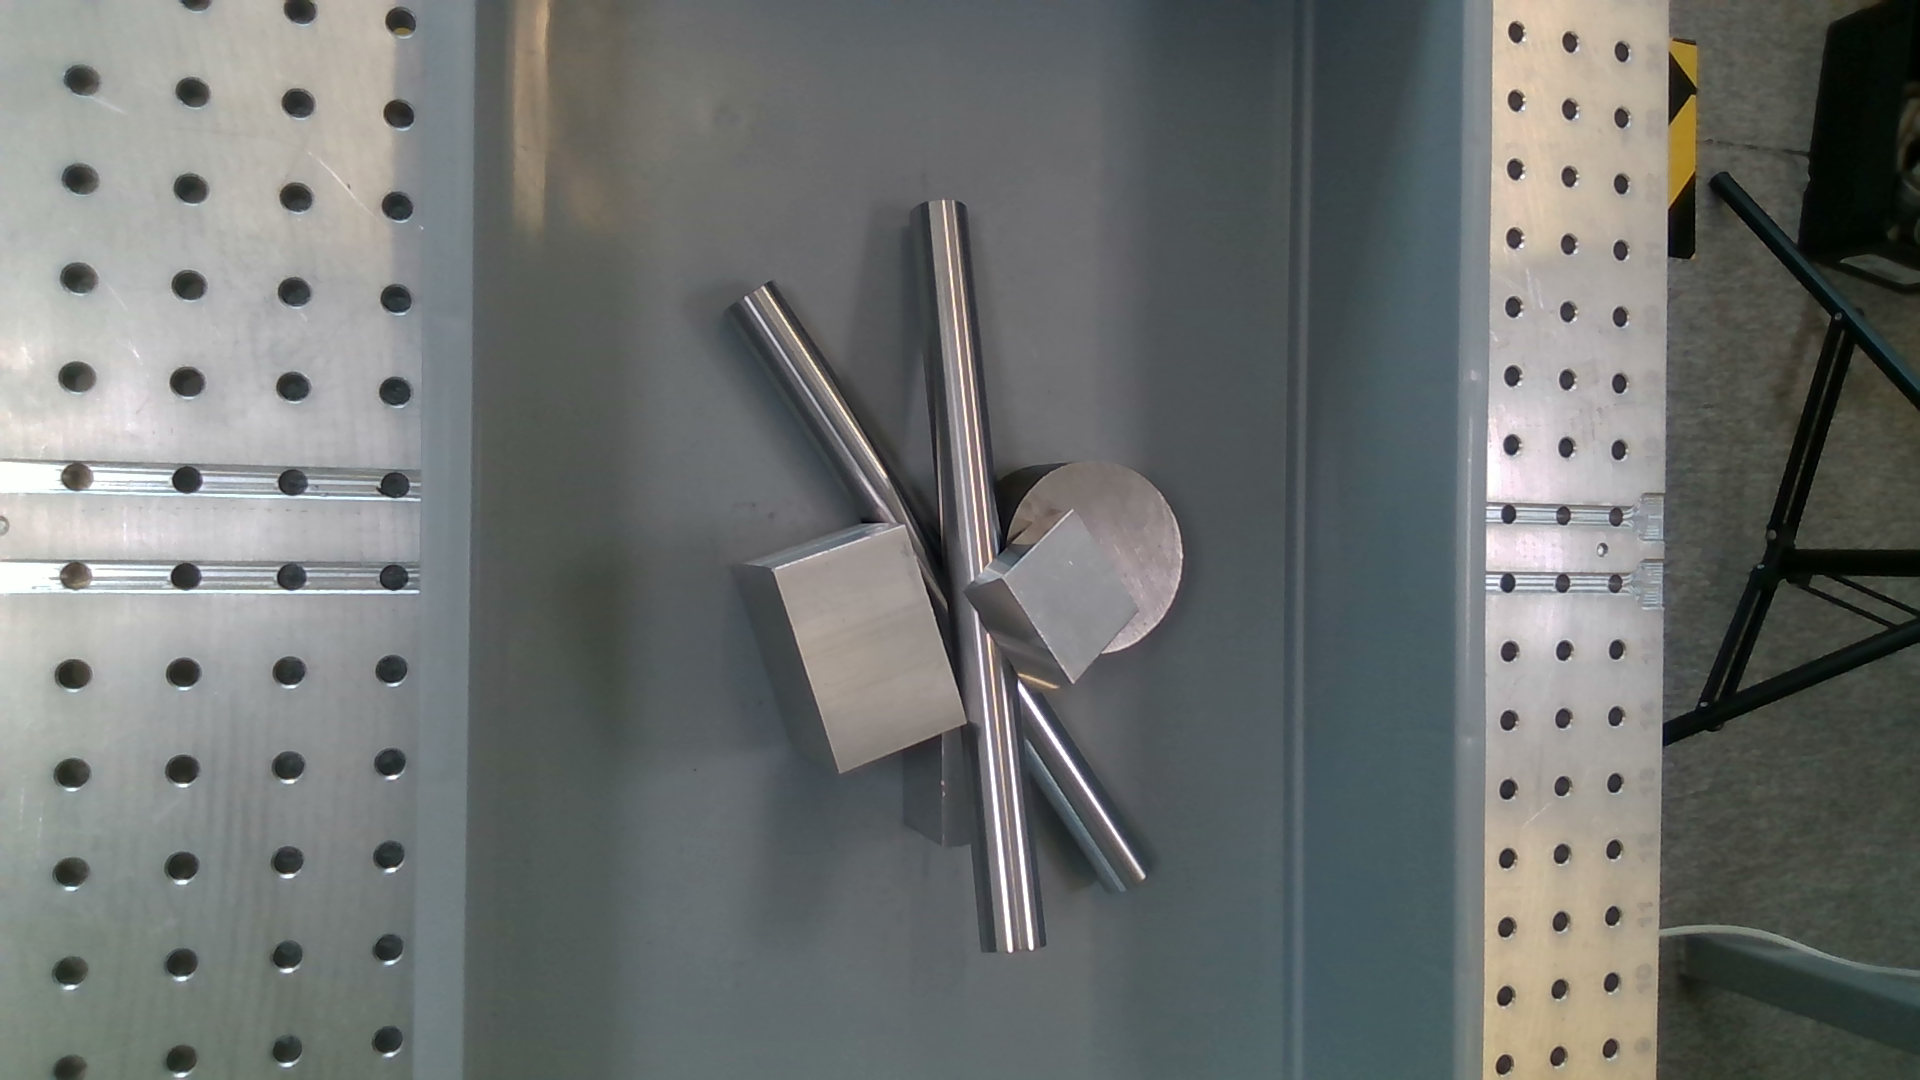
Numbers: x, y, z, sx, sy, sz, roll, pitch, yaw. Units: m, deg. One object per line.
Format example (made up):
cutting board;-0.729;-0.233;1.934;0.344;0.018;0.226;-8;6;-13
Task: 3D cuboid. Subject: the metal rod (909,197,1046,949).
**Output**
metal rod;0.006;0.007;0.550;0.025;0.025;0.299;-1;77;-20

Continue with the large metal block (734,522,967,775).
large metal block;-0.045;0.039;0.538;0.050;0.080;0.080;-19;97;-19

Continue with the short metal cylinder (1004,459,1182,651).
short metal cylinder;0.047;0.007;0.589;0.080;0.050;0.080;0;90;-21

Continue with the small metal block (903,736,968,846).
small metal block;-0.004;0.096;0.571;0.025;0.050;0.050;0;89;-21

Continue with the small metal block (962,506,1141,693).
small metal block;0.036;0.023;0.537;0.050;0.025;0.050;-43;105;-38

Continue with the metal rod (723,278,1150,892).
metal rod;-0.006;0.025;0.584;0.025;0.025;0.300;-36;102;-17
